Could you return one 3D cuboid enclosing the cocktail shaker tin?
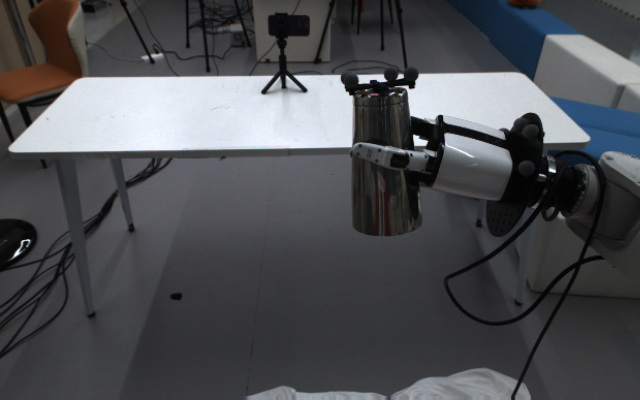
[{"bbox_3d":[0.081,-0.051,0.610,0.093,0.170,0.093,-6,19,2],"label":"cocktail shaker tin"}]
